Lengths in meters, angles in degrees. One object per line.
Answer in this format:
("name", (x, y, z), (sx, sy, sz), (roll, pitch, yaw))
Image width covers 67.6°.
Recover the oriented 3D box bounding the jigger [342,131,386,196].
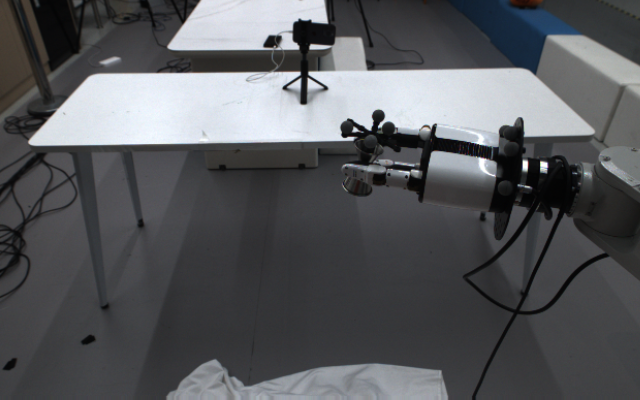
("jigger", (0.058, -0.045, 0.665), (0.043, 0.071, 0.043), (10, 35, -7))
